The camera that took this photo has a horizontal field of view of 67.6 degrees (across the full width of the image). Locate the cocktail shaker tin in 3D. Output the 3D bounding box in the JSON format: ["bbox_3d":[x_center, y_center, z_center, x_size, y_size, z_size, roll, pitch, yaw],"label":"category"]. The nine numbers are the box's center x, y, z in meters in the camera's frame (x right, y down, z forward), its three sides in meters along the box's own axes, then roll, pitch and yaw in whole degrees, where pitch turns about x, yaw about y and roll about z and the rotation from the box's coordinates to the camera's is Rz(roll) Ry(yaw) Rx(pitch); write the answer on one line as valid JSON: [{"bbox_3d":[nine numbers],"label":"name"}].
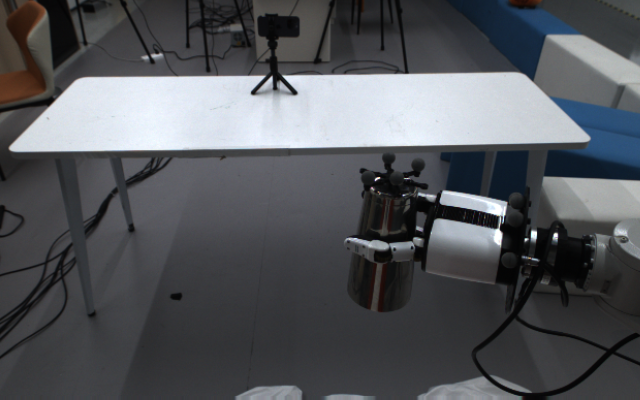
[{"bbox_3d":[0.090,0.053,0.649,0.093,0.170,0.093,2,30,-1],"label":"cocktail shaker tin"}]
